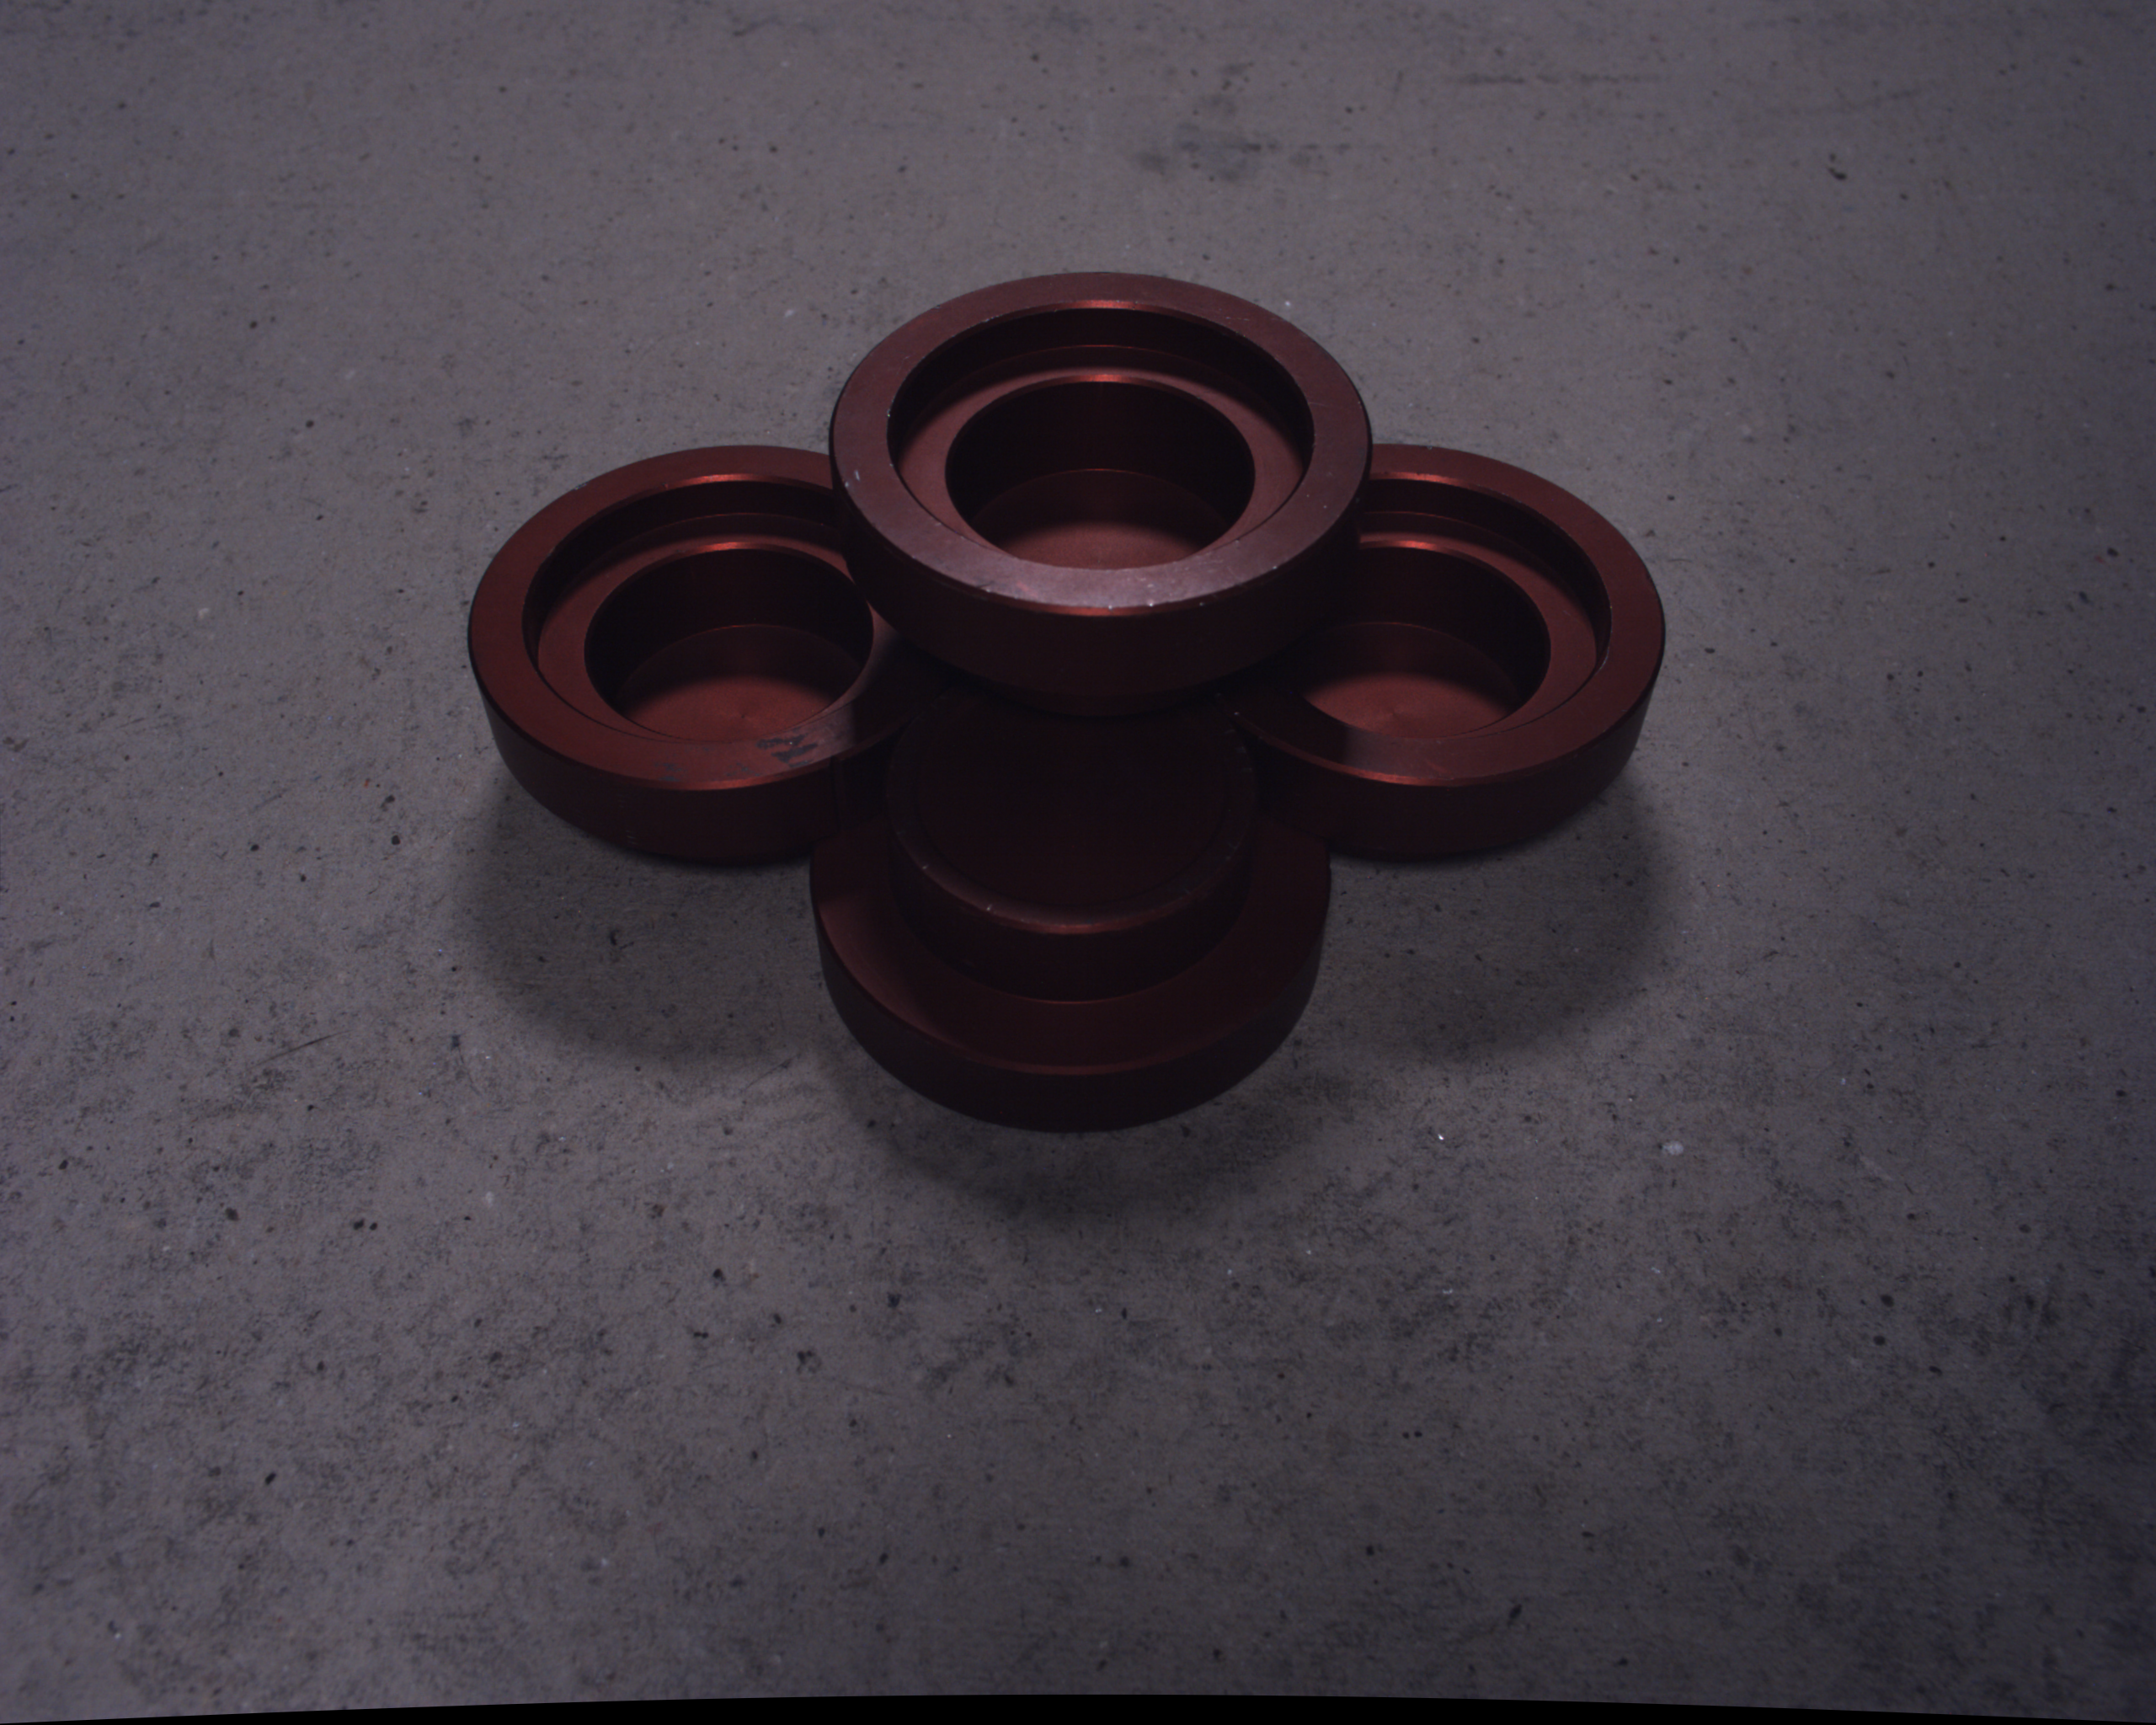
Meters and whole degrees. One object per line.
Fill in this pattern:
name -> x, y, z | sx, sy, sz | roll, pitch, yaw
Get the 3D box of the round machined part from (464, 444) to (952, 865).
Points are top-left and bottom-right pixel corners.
round machined part -> -0.070, -0.038, 0.425 | 0.099, 0.042, 0.098 | 0, 50, 0

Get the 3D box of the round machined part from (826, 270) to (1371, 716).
round machined part -> 0.004, -0.066, 0.394 | 0.099, 0.042, 0.098 | 0, 50, 0

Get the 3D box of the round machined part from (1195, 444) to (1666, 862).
round machined part -> 0.066, -0.039, 0.427 | 0.099, 0.042, 0.098 | 0, 50, 0

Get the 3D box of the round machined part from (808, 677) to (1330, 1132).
round machined part -> -0.002, -0.001, 0.394 | 0.099, 0.042, 0.098 | 0, 50, 0

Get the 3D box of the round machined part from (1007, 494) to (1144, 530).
round machined part -> -0.001, -0.077, 0.458 | 0.099, 0.042, 0.098 | 0, 50, 0
